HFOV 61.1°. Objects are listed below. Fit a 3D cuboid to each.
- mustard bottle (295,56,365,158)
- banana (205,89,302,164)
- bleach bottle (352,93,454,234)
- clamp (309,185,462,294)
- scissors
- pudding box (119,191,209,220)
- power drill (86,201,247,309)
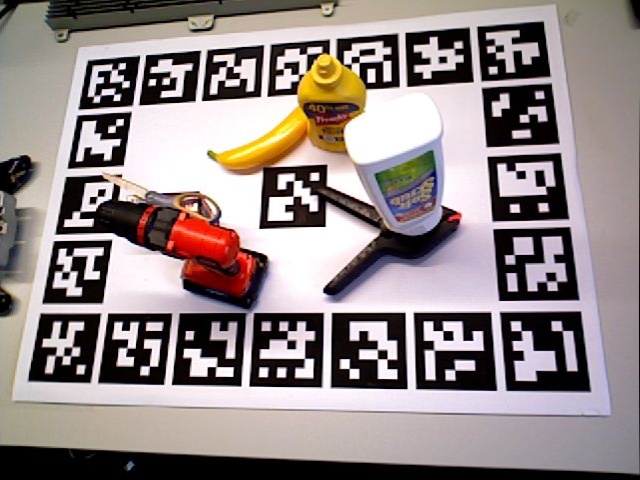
[{"bbox_3d":[0.014,-0.183,0.742,0.096,0.193,0.058,13,72,11],"label":"mustard bottle"},{"bbox_3d":[-0.083,-0.172,0.825,0.196,0.039,0.074,-39,53,-4],"label":"banana"},{"bbox_3d":[0.111,-0.069,0.638,0.103,0.252,0.067,-21,65,8],"label":"bleach bottle"},{"bbox_3d":[0.089,-0.018,0.737,0.202,0.037,0.164,-7,73,6],"label":"clamp"},{"bbox_3d":[-0.240,-0.062,0.725,0.202,0.016,0.087,24,82,11],"label":"scissors"},{"bbox_3d":[-0.223,-0.033,0.782,0.114,0.091,0.038,3,64,9],"label":"pudding box"},{"bbox_3d":[-0.177,0.019,0.675,0.185,0.189,0.056,11,65,15],"label":"power drill"}]
